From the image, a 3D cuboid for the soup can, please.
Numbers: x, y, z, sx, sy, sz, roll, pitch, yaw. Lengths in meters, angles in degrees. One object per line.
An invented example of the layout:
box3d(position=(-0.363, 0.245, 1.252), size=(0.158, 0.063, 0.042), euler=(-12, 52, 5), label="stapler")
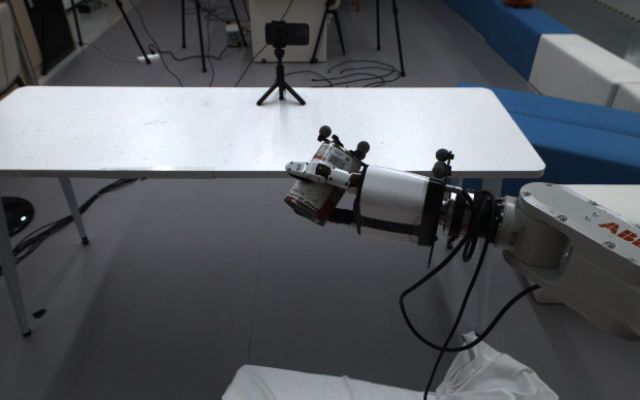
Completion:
box3d(position=(0.005, -0.023, 0.686), size=(0.067, 0.067, 0.101), euler=(27, 78, 31), label="soup can")
